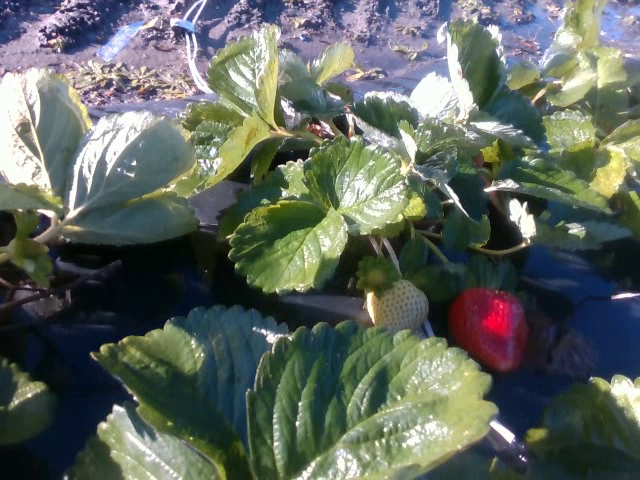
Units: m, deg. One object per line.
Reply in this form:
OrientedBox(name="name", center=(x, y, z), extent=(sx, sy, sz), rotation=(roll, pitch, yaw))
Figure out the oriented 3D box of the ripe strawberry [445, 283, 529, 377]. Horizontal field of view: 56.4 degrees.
OrientedBox(name="ripe strawberry", center=(0.111, 0.051, 0.358), extent=(0.040, 0.062, 0.080), rotation=(-42, 15, 20))
